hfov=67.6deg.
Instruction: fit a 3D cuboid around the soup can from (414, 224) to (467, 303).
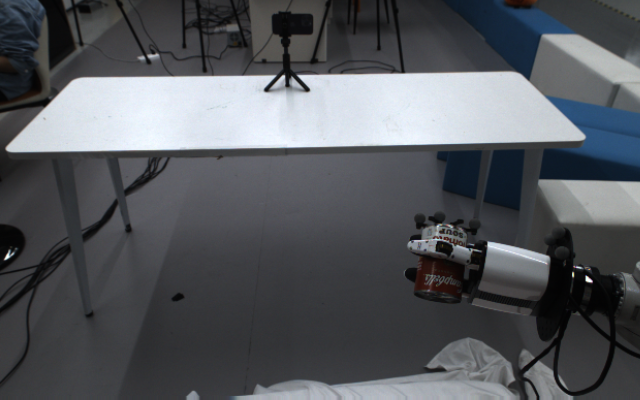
[{"bbox_3d":[0.177,0.092,0.701,0.067,0.067,0.101,9,70,10],"label":"soup can"}]
